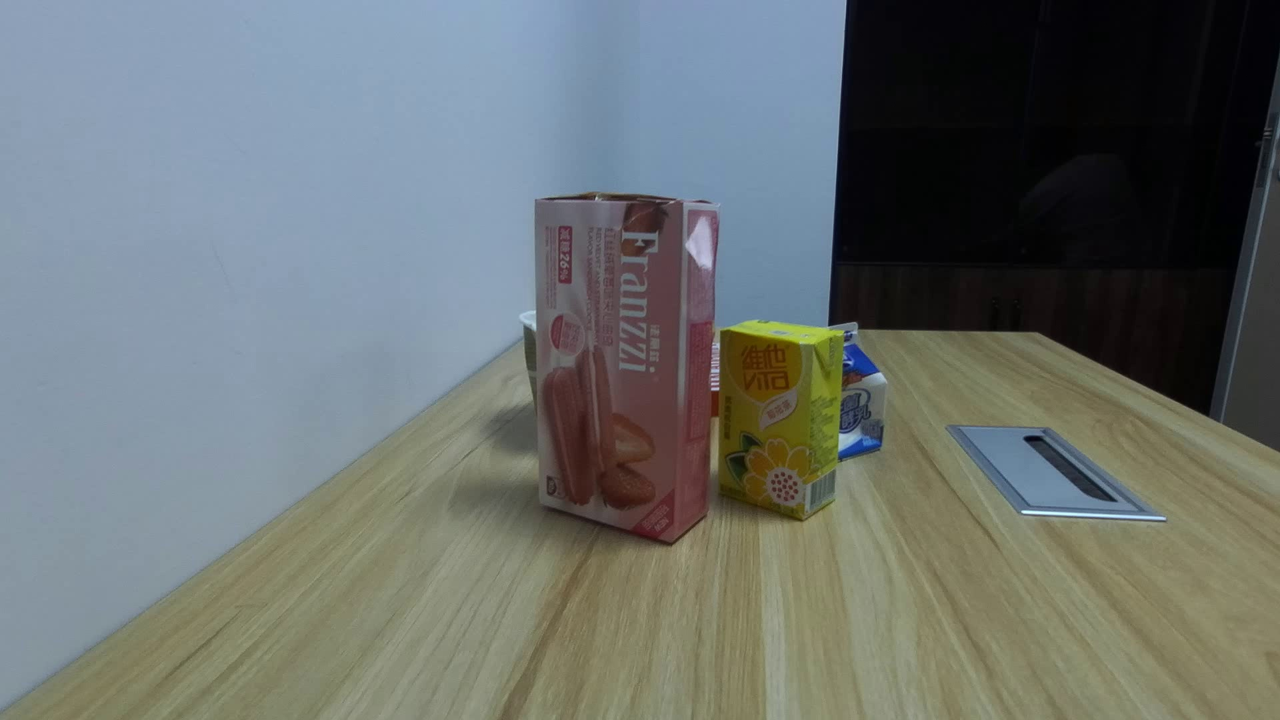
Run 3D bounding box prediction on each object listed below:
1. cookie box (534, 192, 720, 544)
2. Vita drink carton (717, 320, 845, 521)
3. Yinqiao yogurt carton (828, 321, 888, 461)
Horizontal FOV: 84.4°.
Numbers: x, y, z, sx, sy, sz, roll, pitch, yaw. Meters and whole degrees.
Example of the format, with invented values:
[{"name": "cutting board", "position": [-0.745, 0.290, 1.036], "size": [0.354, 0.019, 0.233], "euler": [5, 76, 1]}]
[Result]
[{"name": "cookie box", "position": [-0.005, 0.001, 0.407], "size": [0.104, 0.187, 0.049], "euler": [8, 15, 30]}, {"name": "Vita drink carton", "position": [0.084, 0.034, 0.436], "size": [0.066, 0.109, 0.044], "euler": [11, 19, 39]}, {"name": "Yinqiao yogurt carton", "position": [0.133, 0.020, 0.525], "size": [0.078, 0.094, 0.070], "euler": [-11, 23, -28]}]
